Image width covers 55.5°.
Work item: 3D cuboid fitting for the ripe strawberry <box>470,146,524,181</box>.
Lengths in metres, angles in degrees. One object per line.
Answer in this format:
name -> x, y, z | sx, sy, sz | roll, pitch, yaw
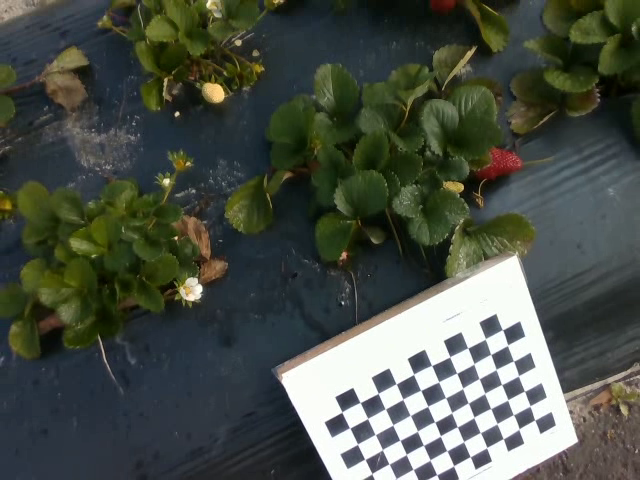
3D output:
ripe strawberry -> 0.194, -0.084, 0.655 | 0.064, 0.051, 0.043 | 5, 13, -14
